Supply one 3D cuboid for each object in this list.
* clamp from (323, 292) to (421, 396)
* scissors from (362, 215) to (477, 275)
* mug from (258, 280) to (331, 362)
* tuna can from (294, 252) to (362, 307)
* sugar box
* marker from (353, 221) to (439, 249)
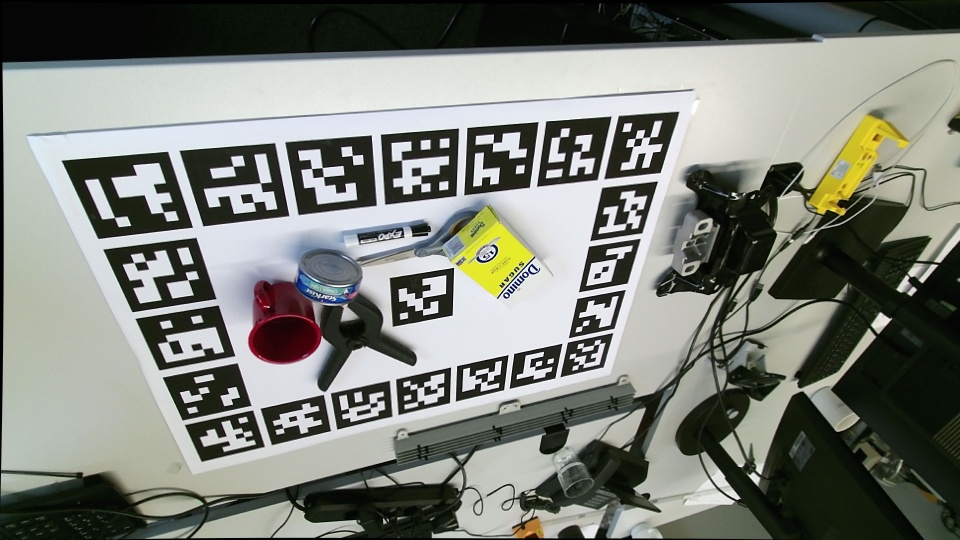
[{"bbox_3d":[-0.192,0.105,0.845,0.166,0.036,0.203,-18,128,-10],"label":"clamp"},{"bbox_3d":[-0.074,-0.023,0.795,0.203,0.016,0.088,-17,133,-8],"label":"scissors"},{"bbox_3d":[-0.265,0.061,0.743,0.093,0.081,0.117,-31,134,1],"label":"mug"},{"bbox_3d":[-0.205,0.011,0.726,0.086,0.085,0.034,6,122,-26],"label":"tuna can"},{"bbox_3d":[0.031,-0.012,0.827,0.093,0.045,0.177,-38,136,7],"label":"sugar box"},{"bbox_3d":[-0.117,-0.051,0.760,0.121,0.019,0.019,-13,127,-15],"label":"marker"}]
